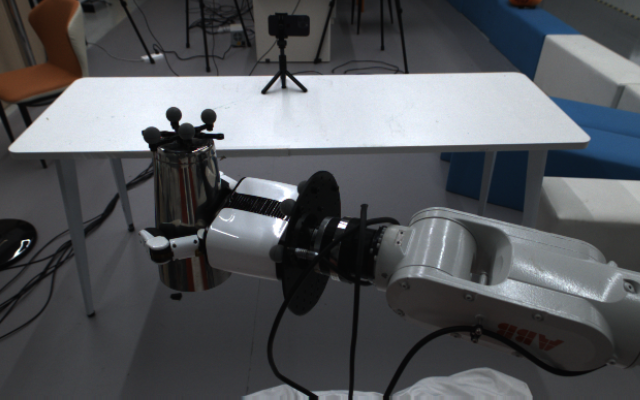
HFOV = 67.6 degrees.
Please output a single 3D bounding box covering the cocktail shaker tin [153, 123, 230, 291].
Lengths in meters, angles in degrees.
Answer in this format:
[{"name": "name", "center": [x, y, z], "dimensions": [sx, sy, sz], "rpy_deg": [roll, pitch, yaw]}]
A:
[{"name": "cocktail shaker tin", "center": [-0.150, 0.012, 0.569], "dimensions": [0.093, 0.170, 0.093], "rpy_deg": [2, 28, -1]}]
